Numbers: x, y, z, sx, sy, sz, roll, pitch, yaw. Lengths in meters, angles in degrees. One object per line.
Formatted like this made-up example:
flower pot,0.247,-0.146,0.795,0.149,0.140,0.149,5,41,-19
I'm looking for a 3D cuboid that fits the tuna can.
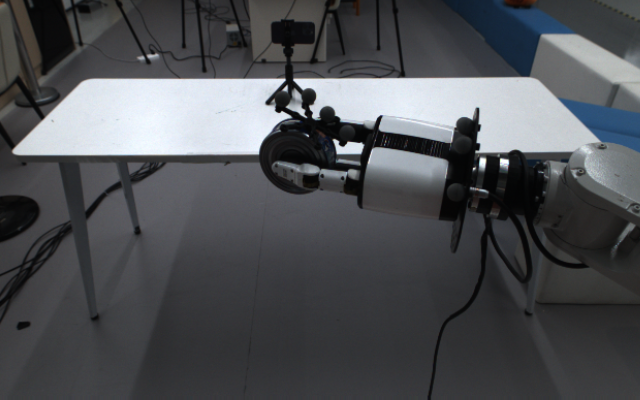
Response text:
tuna can,-0.023,-0.044,0.560,0.085,0.085,0.034,12,35,14
